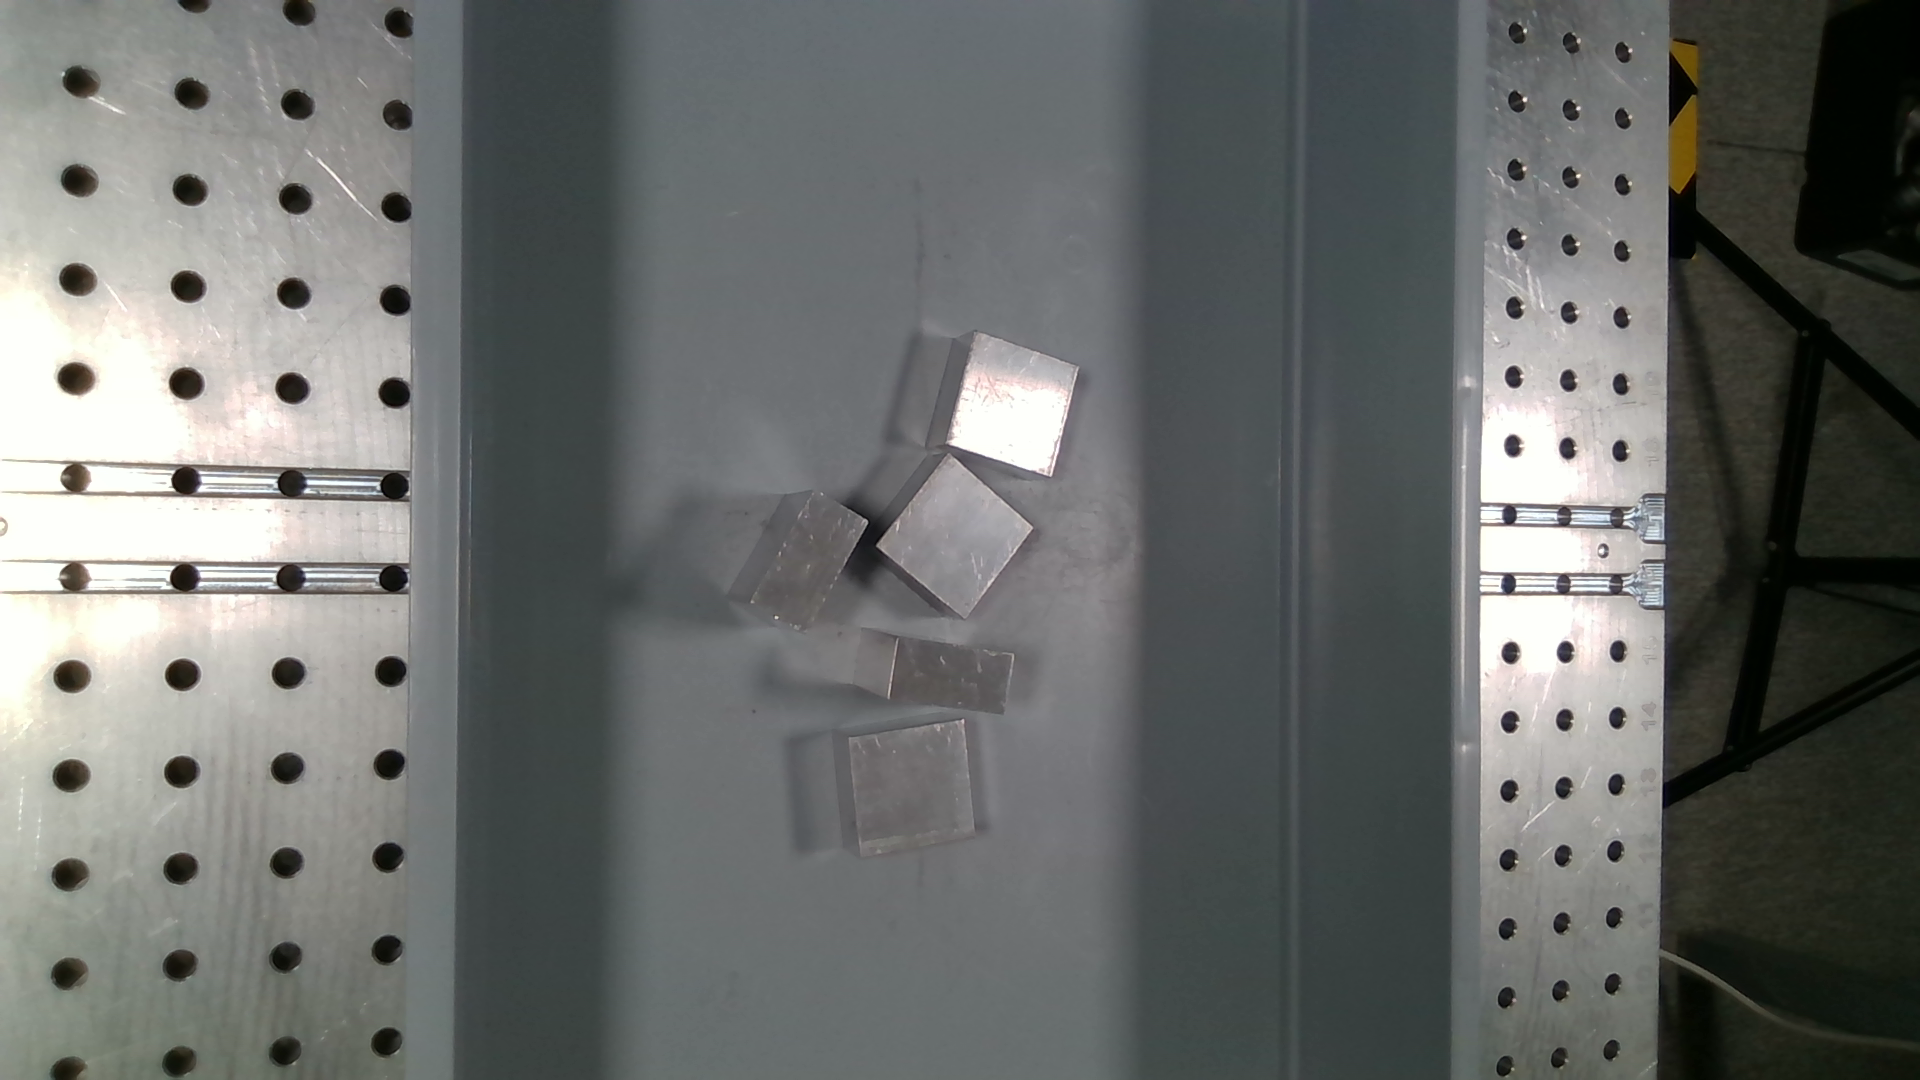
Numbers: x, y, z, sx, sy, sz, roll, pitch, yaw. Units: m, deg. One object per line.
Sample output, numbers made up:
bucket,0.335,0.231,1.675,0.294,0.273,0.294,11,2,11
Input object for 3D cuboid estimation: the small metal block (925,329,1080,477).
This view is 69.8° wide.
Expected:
small metal block,0.018,-0.057,0.590,0.050,0.025,0.050,16,85,-20

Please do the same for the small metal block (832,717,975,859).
small metal block,-0.024,0.102,0.576,0.050,0.025,0.050,-6,92,-20

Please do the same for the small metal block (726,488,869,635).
small metal block,-0.065,0.008,0.546,0.025,0.050,0.050,32,80,-17

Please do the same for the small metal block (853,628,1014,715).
small metal block,-0.012,0.054,0.567,0.050,0.050,0.025,10,87,-20

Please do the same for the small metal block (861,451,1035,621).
small metal block,-0.006,-0.001,0.581,0.050,0.025,0.050,40,77,-16
